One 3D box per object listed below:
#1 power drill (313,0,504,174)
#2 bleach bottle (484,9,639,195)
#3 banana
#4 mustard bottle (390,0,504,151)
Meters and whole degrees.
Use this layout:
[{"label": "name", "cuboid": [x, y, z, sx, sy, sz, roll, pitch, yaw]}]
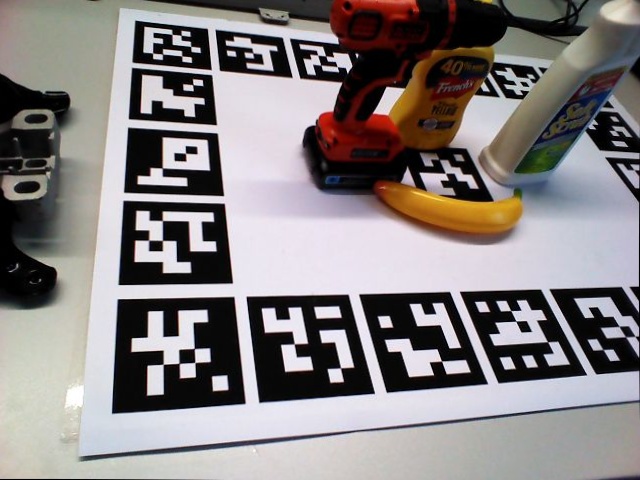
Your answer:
[{"label": "power drill", "cuboid": [0.079, -0.158, 0.541, 0.184, 0.188, 0.057, -1, 47, -21]}, {"label": "bleach bottle", "cuboid": [0.301, -0.159, 0.607, 0.102, 0.252, 0.067, -7, 56, -22]}, {"label": "banana", "cuboid": [0.173, -0.035, 0.595, 0.197, 0.039, 0.074, 2, 57, -13]}, {"label": "mustard bottle", "cuboid": [0.162, -0.194, 0.619, 0.096, 0.193, 0.058, 2, 52, -18]}]
